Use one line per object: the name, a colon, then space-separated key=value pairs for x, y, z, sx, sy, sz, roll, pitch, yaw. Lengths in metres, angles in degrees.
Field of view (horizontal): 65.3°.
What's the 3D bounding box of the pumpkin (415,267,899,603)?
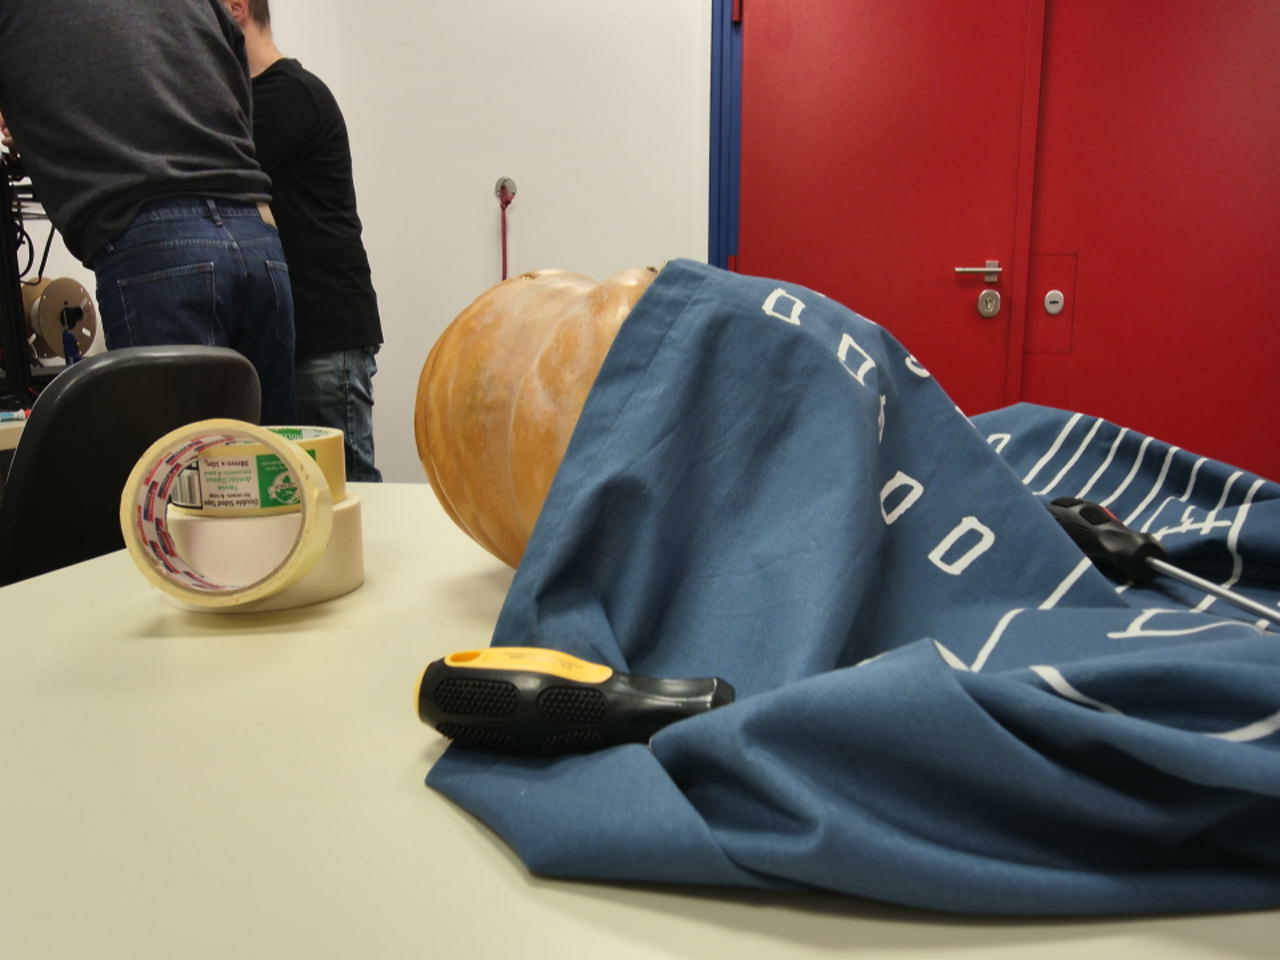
pumpkin: x=0.008 y=-0.030 z=0.566 sx=0.277 sy=0.181 sz=0.277 roll=0 pitch=7 yaw=0
